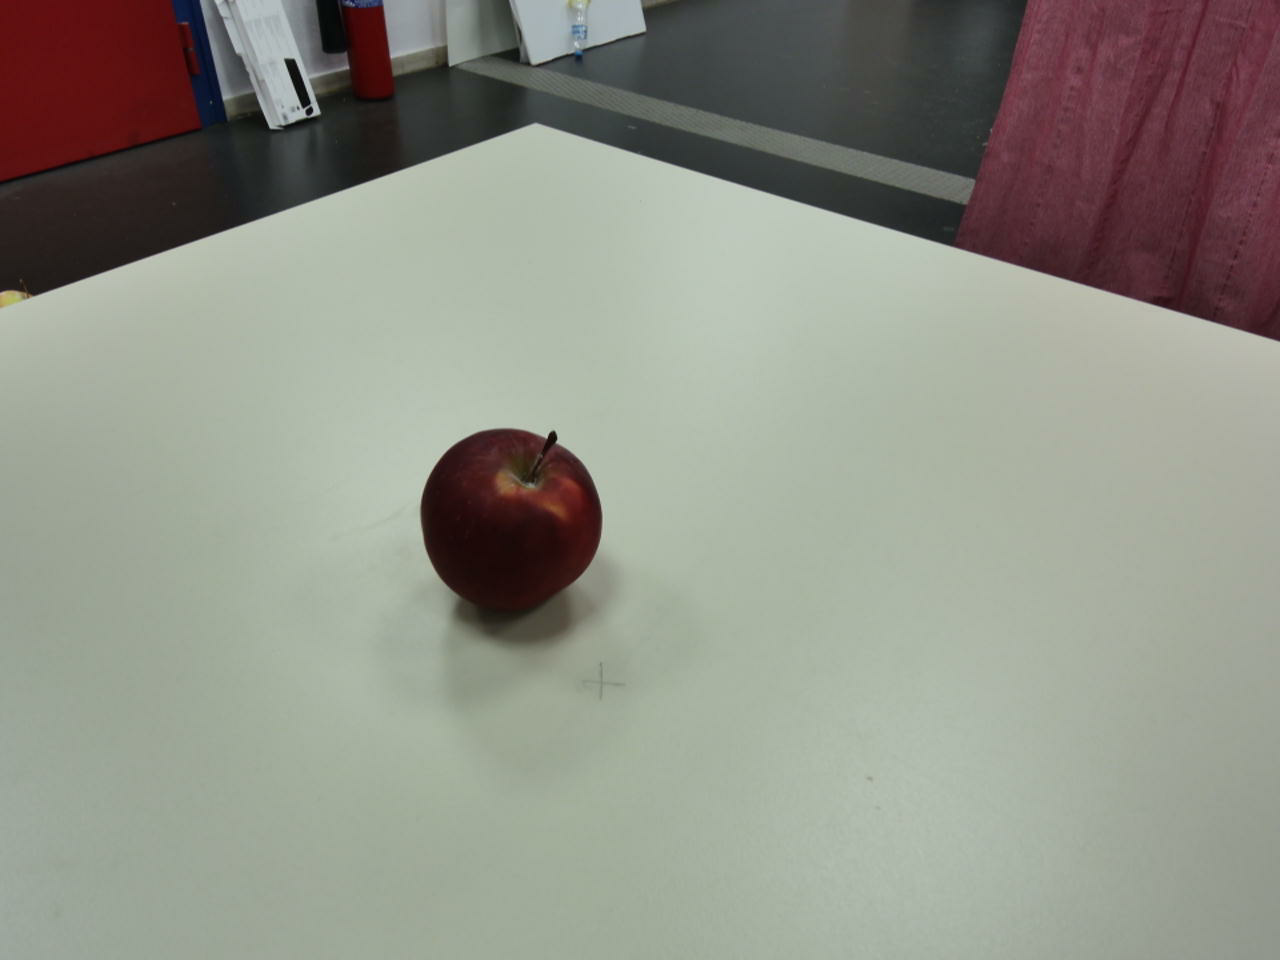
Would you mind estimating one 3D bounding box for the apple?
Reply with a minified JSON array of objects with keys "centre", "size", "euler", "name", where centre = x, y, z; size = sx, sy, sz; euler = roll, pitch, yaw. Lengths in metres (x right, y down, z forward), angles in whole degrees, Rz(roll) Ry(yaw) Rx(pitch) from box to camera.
[{"centre":[-0.050,0.016,0.388],"size":[0.070,0.072,0.070],"euler":[1,36,0],"name":"apple"}]
